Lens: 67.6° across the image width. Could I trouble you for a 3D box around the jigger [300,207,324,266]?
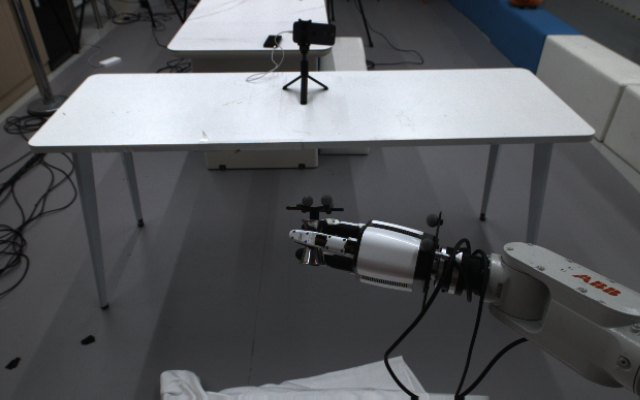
[{"bbox_3d":[-0.010,0.064,0.746,0.043,0.071,0.043,2,-6,0],"label":"jigger"}]
